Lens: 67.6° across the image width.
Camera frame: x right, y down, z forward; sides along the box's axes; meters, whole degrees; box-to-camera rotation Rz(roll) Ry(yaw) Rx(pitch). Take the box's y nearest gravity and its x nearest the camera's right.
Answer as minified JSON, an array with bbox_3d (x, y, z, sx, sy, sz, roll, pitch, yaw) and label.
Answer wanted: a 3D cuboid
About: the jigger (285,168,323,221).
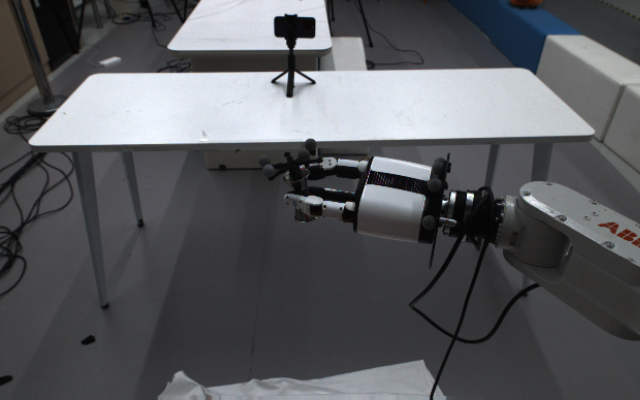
[{"bbox_3d":[-0.025,-0.007,0.699,0.043,0.071,0.043,-12,29,7],"label":"jigger"}]
